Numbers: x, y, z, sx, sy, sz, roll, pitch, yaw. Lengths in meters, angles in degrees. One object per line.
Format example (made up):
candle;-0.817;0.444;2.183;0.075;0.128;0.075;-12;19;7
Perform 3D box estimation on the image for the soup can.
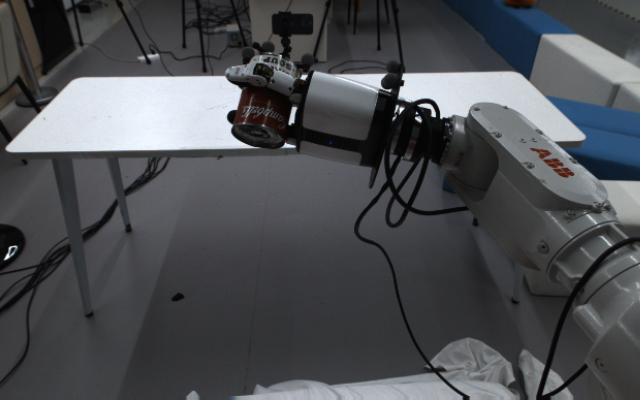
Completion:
soup can;-0.067;-0.124;0.608;0.067;0.067;0.101;8;73;8
